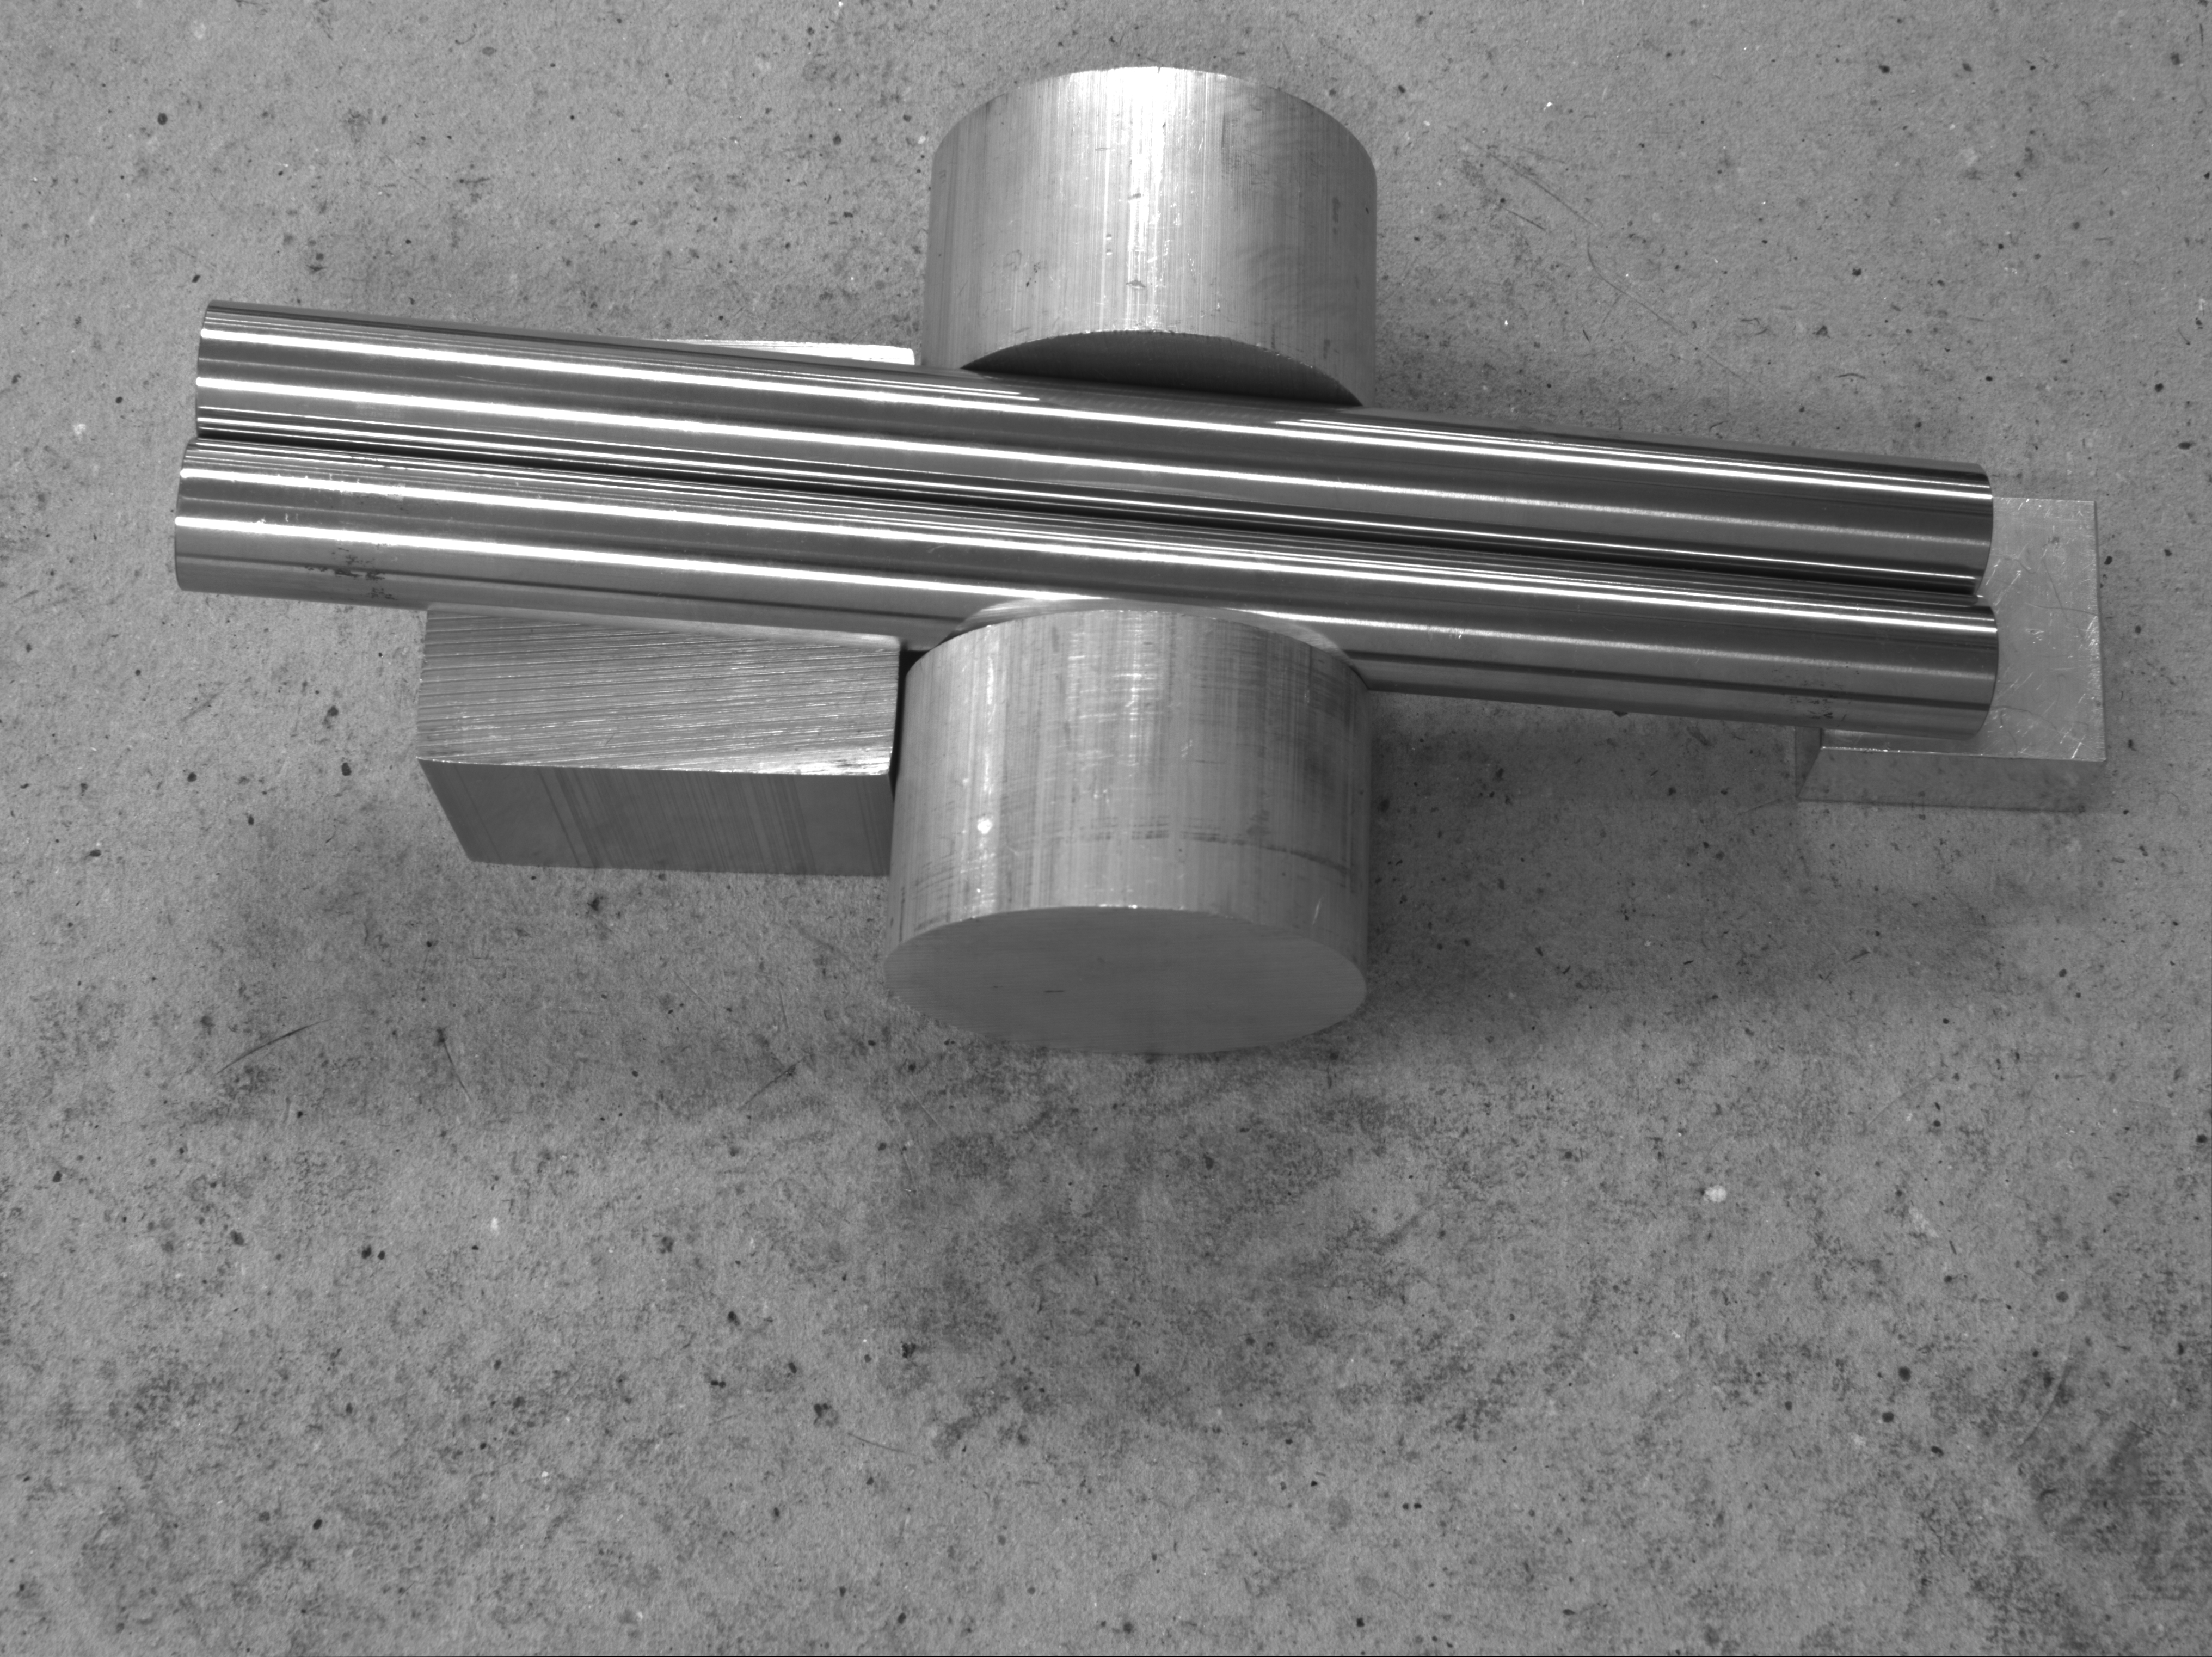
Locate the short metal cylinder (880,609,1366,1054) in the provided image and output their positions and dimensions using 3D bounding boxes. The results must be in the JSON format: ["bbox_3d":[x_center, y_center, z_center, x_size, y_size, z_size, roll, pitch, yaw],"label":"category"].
[{"bbox_3d":[0.003,0.002,0.616,0.080,0.080,0.050,1,70,1],"label":"short metal cylinder"}]

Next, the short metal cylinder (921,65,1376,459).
[{"bbox_3d":[0.008,-0.092,0.650,0.080,0.080,0.050,1,70,1],"label":"short metal cylinder"}]

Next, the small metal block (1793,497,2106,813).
[{"bbox_3d":[0.150,-0.032,0.658,0.050,0.025,0.050,3,70,2],"label":"small metal block"}]

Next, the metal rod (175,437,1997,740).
[{"bbox_3d":[0.000,-0.039,0.612,0.300,0.025,0.025,4,70,-7],"label":"metal rod"}]

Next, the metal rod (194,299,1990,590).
[{"bbox_3d":[0.001,-0.063,0.621,0.300,0.025,0.025,4,70,-7],"label":"metal rod"}]

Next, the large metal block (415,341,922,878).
[{"bbox_3d":[-0.073,-0.038,0.647,0.080,0.050,0.080,2,70,1],"label":"large metal block"}]
